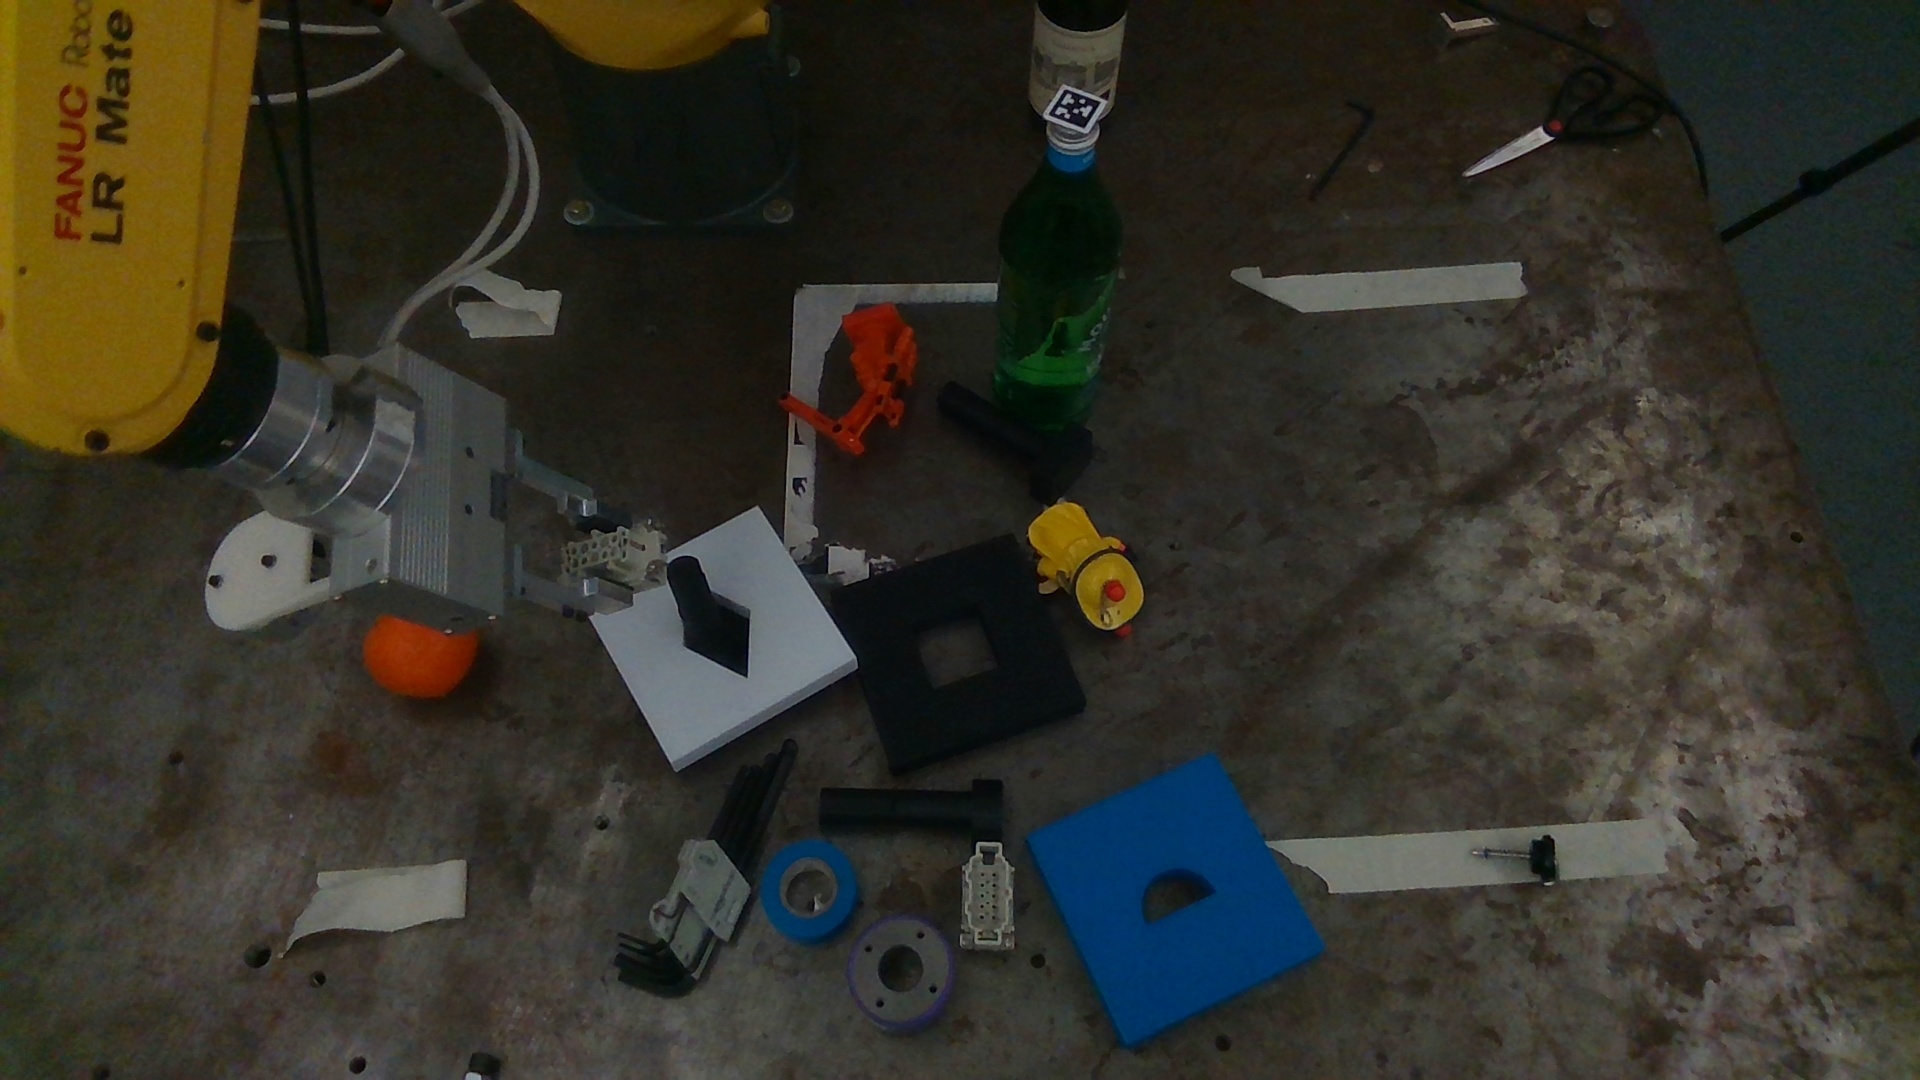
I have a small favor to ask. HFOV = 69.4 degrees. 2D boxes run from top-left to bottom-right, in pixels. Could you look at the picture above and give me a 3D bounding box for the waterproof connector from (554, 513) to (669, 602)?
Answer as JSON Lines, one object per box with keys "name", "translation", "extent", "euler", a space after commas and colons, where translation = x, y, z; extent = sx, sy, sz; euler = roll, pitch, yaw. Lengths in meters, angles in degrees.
{"name": "waterproof connector", "translation": [-0.193, 0.009, 0.768], "extent": [0.069, 0.038, 0.037], "euler": [-16, 73, 24]}
